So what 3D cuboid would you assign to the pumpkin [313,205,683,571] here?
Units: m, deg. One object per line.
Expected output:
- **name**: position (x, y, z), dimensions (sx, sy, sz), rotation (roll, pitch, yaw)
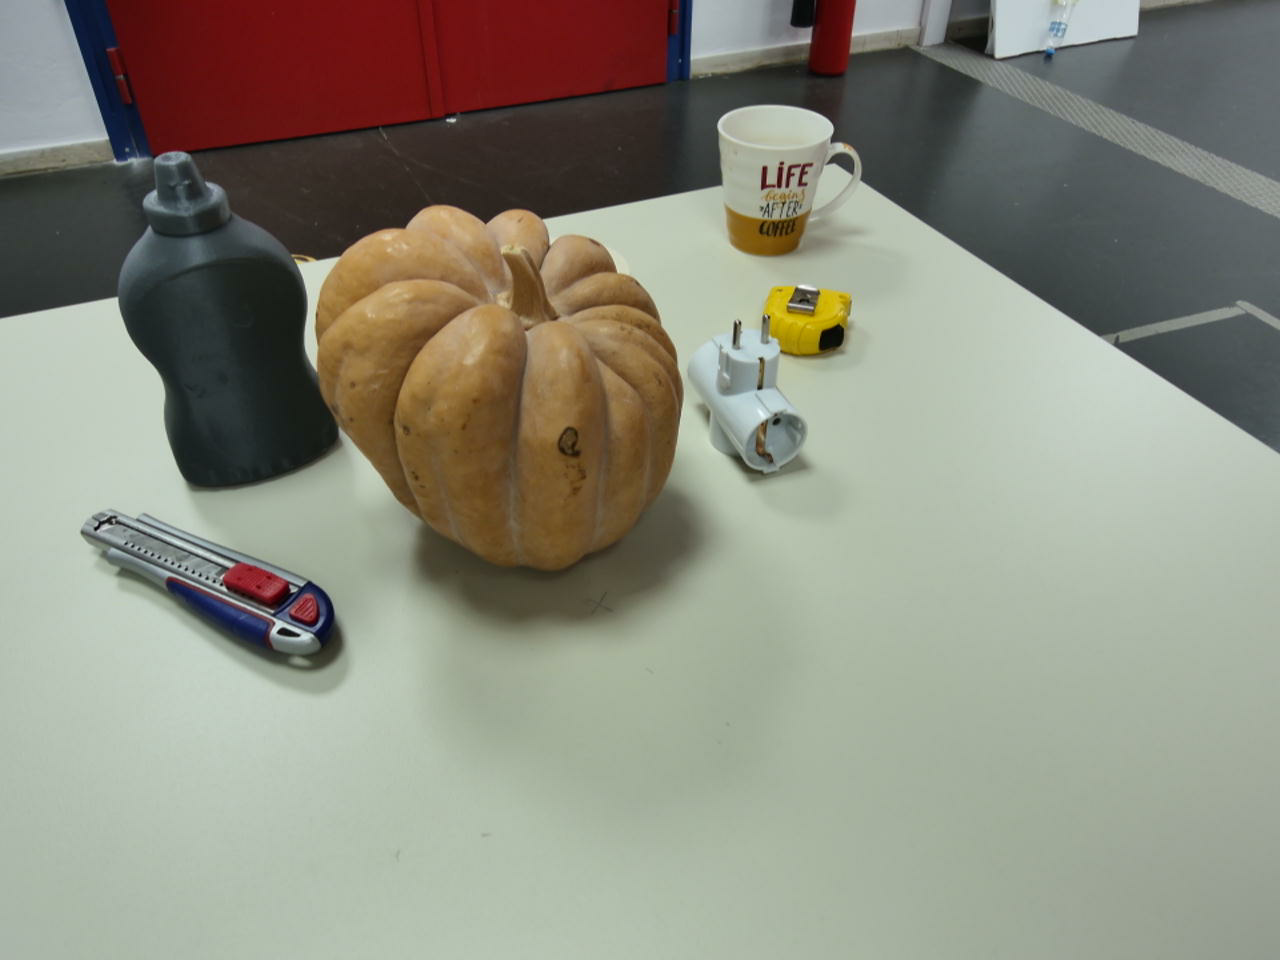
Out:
- **pumpkin**: position (-0.072, -0.048, 0.534), dimensions (0.199, 0.177, 0.198), rotation (0, 38, 0)
